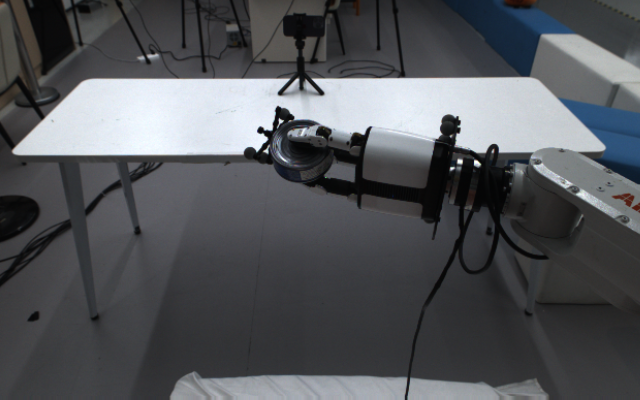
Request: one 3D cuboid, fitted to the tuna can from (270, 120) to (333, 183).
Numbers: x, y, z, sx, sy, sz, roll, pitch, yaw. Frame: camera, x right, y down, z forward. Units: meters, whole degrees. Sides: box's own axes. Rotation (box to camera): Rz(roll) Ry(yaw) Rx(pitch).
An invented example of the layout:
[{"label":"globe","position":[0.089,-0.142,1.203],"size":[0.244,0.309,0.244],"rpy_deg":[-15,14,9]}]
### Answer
[{"label":"tuna can","position":[-0.022,-0.063,0.657],"size":[0.085,0.034,0.085],"rpy_deg":[-1,62,1]}]
